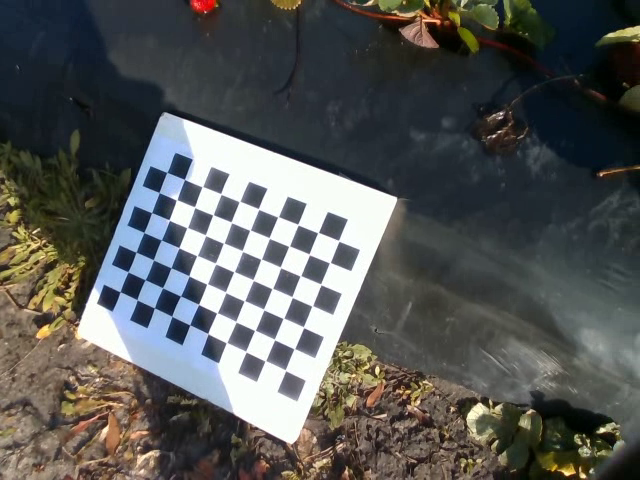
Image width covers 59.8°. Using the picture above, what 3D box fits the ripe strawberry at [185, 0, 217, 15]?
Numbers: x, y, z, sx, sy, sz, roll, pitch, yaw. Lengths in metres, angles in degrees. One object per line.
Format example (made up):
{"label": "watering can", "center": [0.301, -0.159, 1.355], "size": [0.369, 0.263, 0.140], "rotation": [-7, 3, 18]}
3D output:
{"label": "ripe strawberry", "center": [-0.122, -0.229, 0.536], "size": [0.028, 0.031, 0.041], "rotation": [-5, 28, 16]}
